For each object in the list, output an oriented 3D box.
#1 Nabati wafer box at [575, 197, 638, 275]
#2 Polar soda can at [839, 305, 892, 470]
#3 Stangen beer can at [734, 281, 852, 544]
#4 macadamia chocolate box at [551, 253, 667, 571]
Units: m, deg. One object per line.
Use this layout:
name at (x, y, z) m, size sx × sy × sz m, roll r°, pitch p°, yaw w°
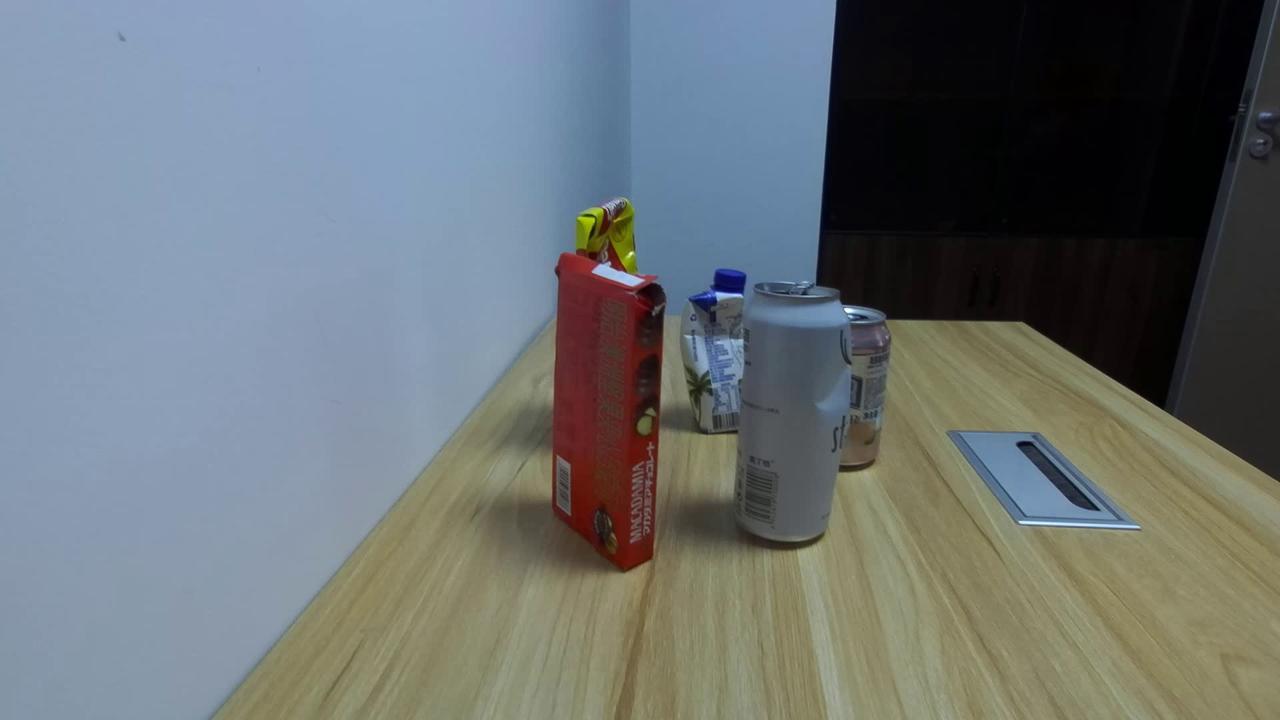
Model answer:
Nabati wafer box at (-0.026, -0.031, 0.613) m, size 0.042 × 0.205 × 0.113 m, roll 1°, pitch 21°, yaw 8°
Polar soda can at (0.167, 0.023, 0.582) m, size 0.067 × 0.125 × 0.067 m, roll 0°, pitch 16°, yaw 0°
Stangen beer can at (0.100, 0.033, 0.468) m, size 0.070 × 0.173 × 0.070 m, roll 0°, pitch 17°, yaw -2°
macadamia chocolate box at (-0.025, 0.030, 0.458) m, size 0.027 × 0.187 × 0.102 m, roll -9°, pitch 20°, yaw -35°
